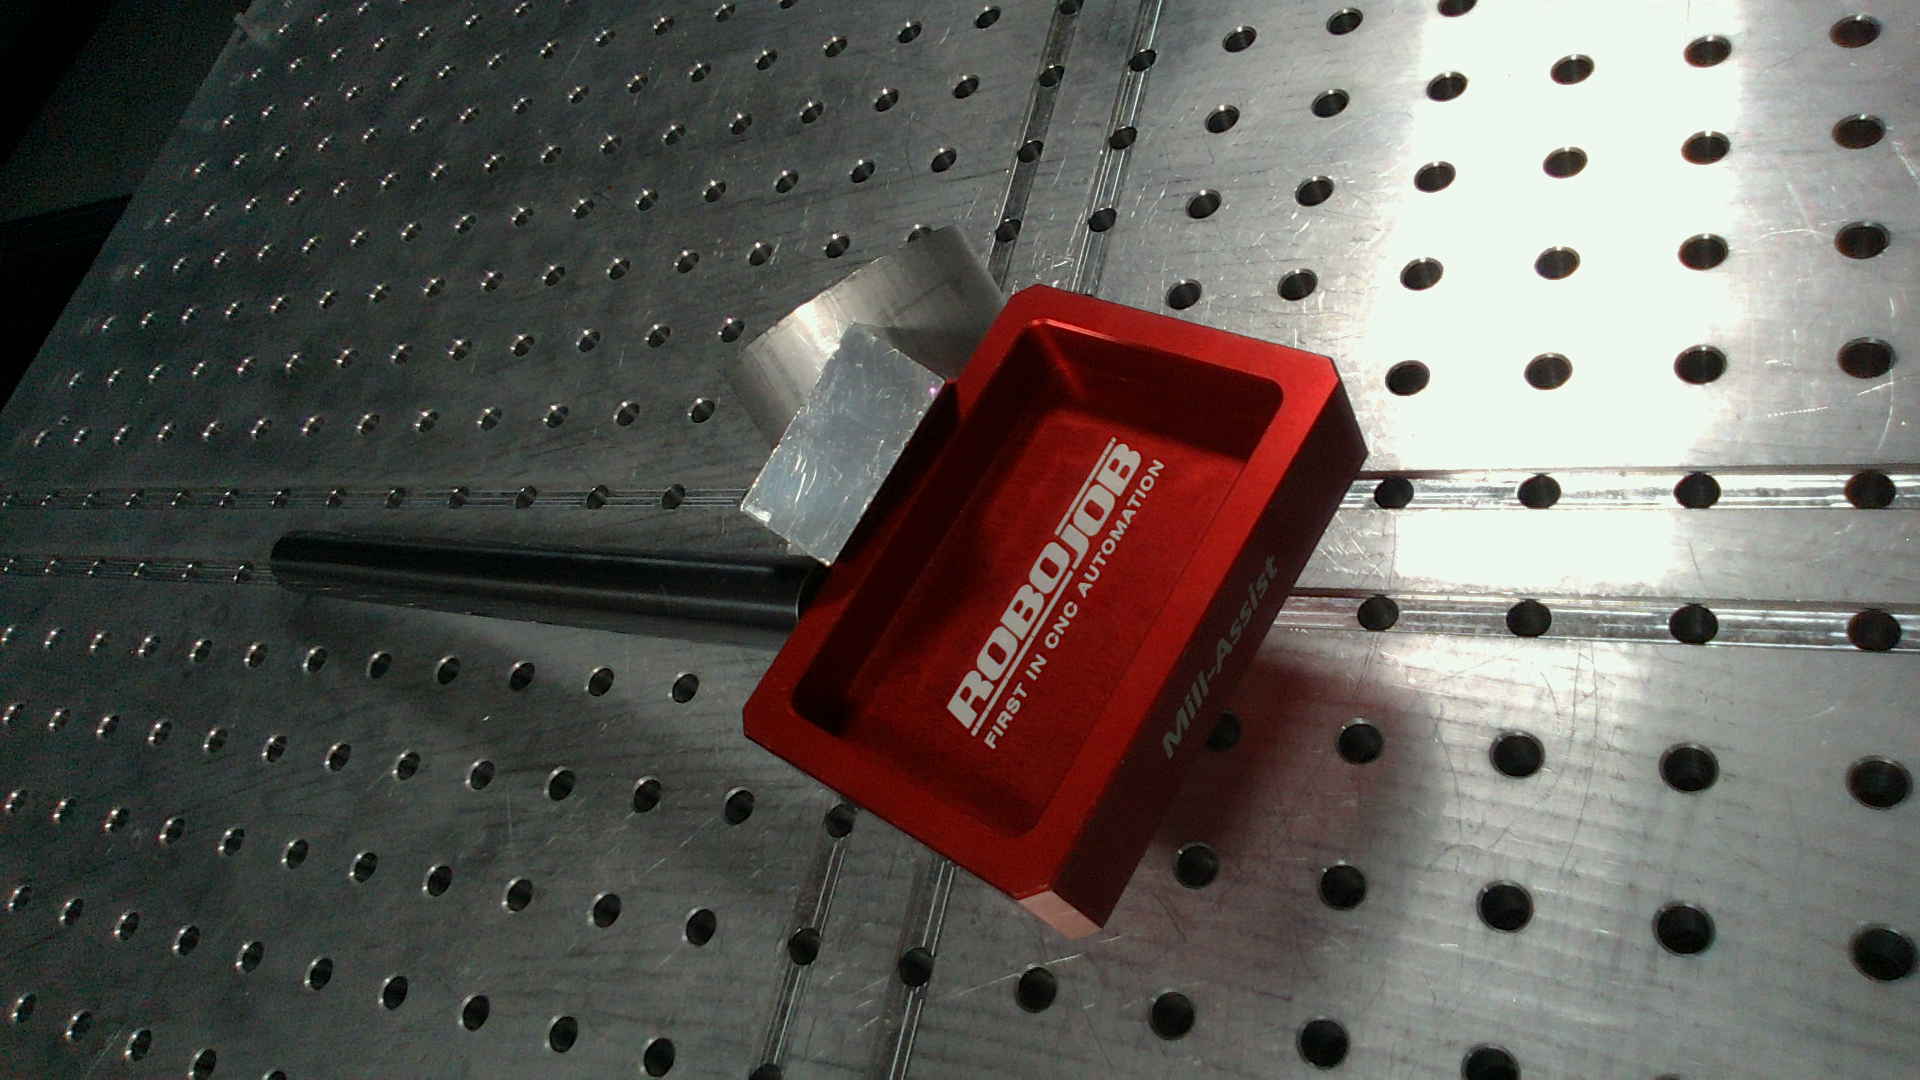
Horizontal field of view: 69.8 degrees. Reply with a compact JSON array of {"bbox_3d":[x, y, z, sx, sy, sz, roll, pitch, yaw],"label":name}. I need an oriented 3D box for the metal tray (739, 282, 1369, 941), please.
[{"bbox_3d":[0.021,0.009,0.308,0.090,0.030,0.130,22,73,37],"label":"metal tray"}]

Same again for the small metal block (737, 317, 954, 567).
[{"bbox_3d":[-0.025,-0.025,0.332,0.025,0.050,0.050,32,98,-1],"label":"small metal block"}]

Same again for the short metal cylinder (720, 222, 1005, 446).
[{"bbox_3d":[-0.021,-0.048,0.394,0.080,0.080,0.050,-31,94,9],"label":"short metal cylinder"}]

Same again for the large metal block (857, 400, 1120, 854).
[{"bbox_3d":[0.009,0.022,0.361,0.080,0.050,0.080,-31,51,8],"label":"large metal block"}]

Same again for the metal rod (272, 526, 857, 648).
[{"bbox_3d":[-0.142,0.011,0.429,0.299,0.025,0.025,2,62,42],"label":"metal rod"}]
